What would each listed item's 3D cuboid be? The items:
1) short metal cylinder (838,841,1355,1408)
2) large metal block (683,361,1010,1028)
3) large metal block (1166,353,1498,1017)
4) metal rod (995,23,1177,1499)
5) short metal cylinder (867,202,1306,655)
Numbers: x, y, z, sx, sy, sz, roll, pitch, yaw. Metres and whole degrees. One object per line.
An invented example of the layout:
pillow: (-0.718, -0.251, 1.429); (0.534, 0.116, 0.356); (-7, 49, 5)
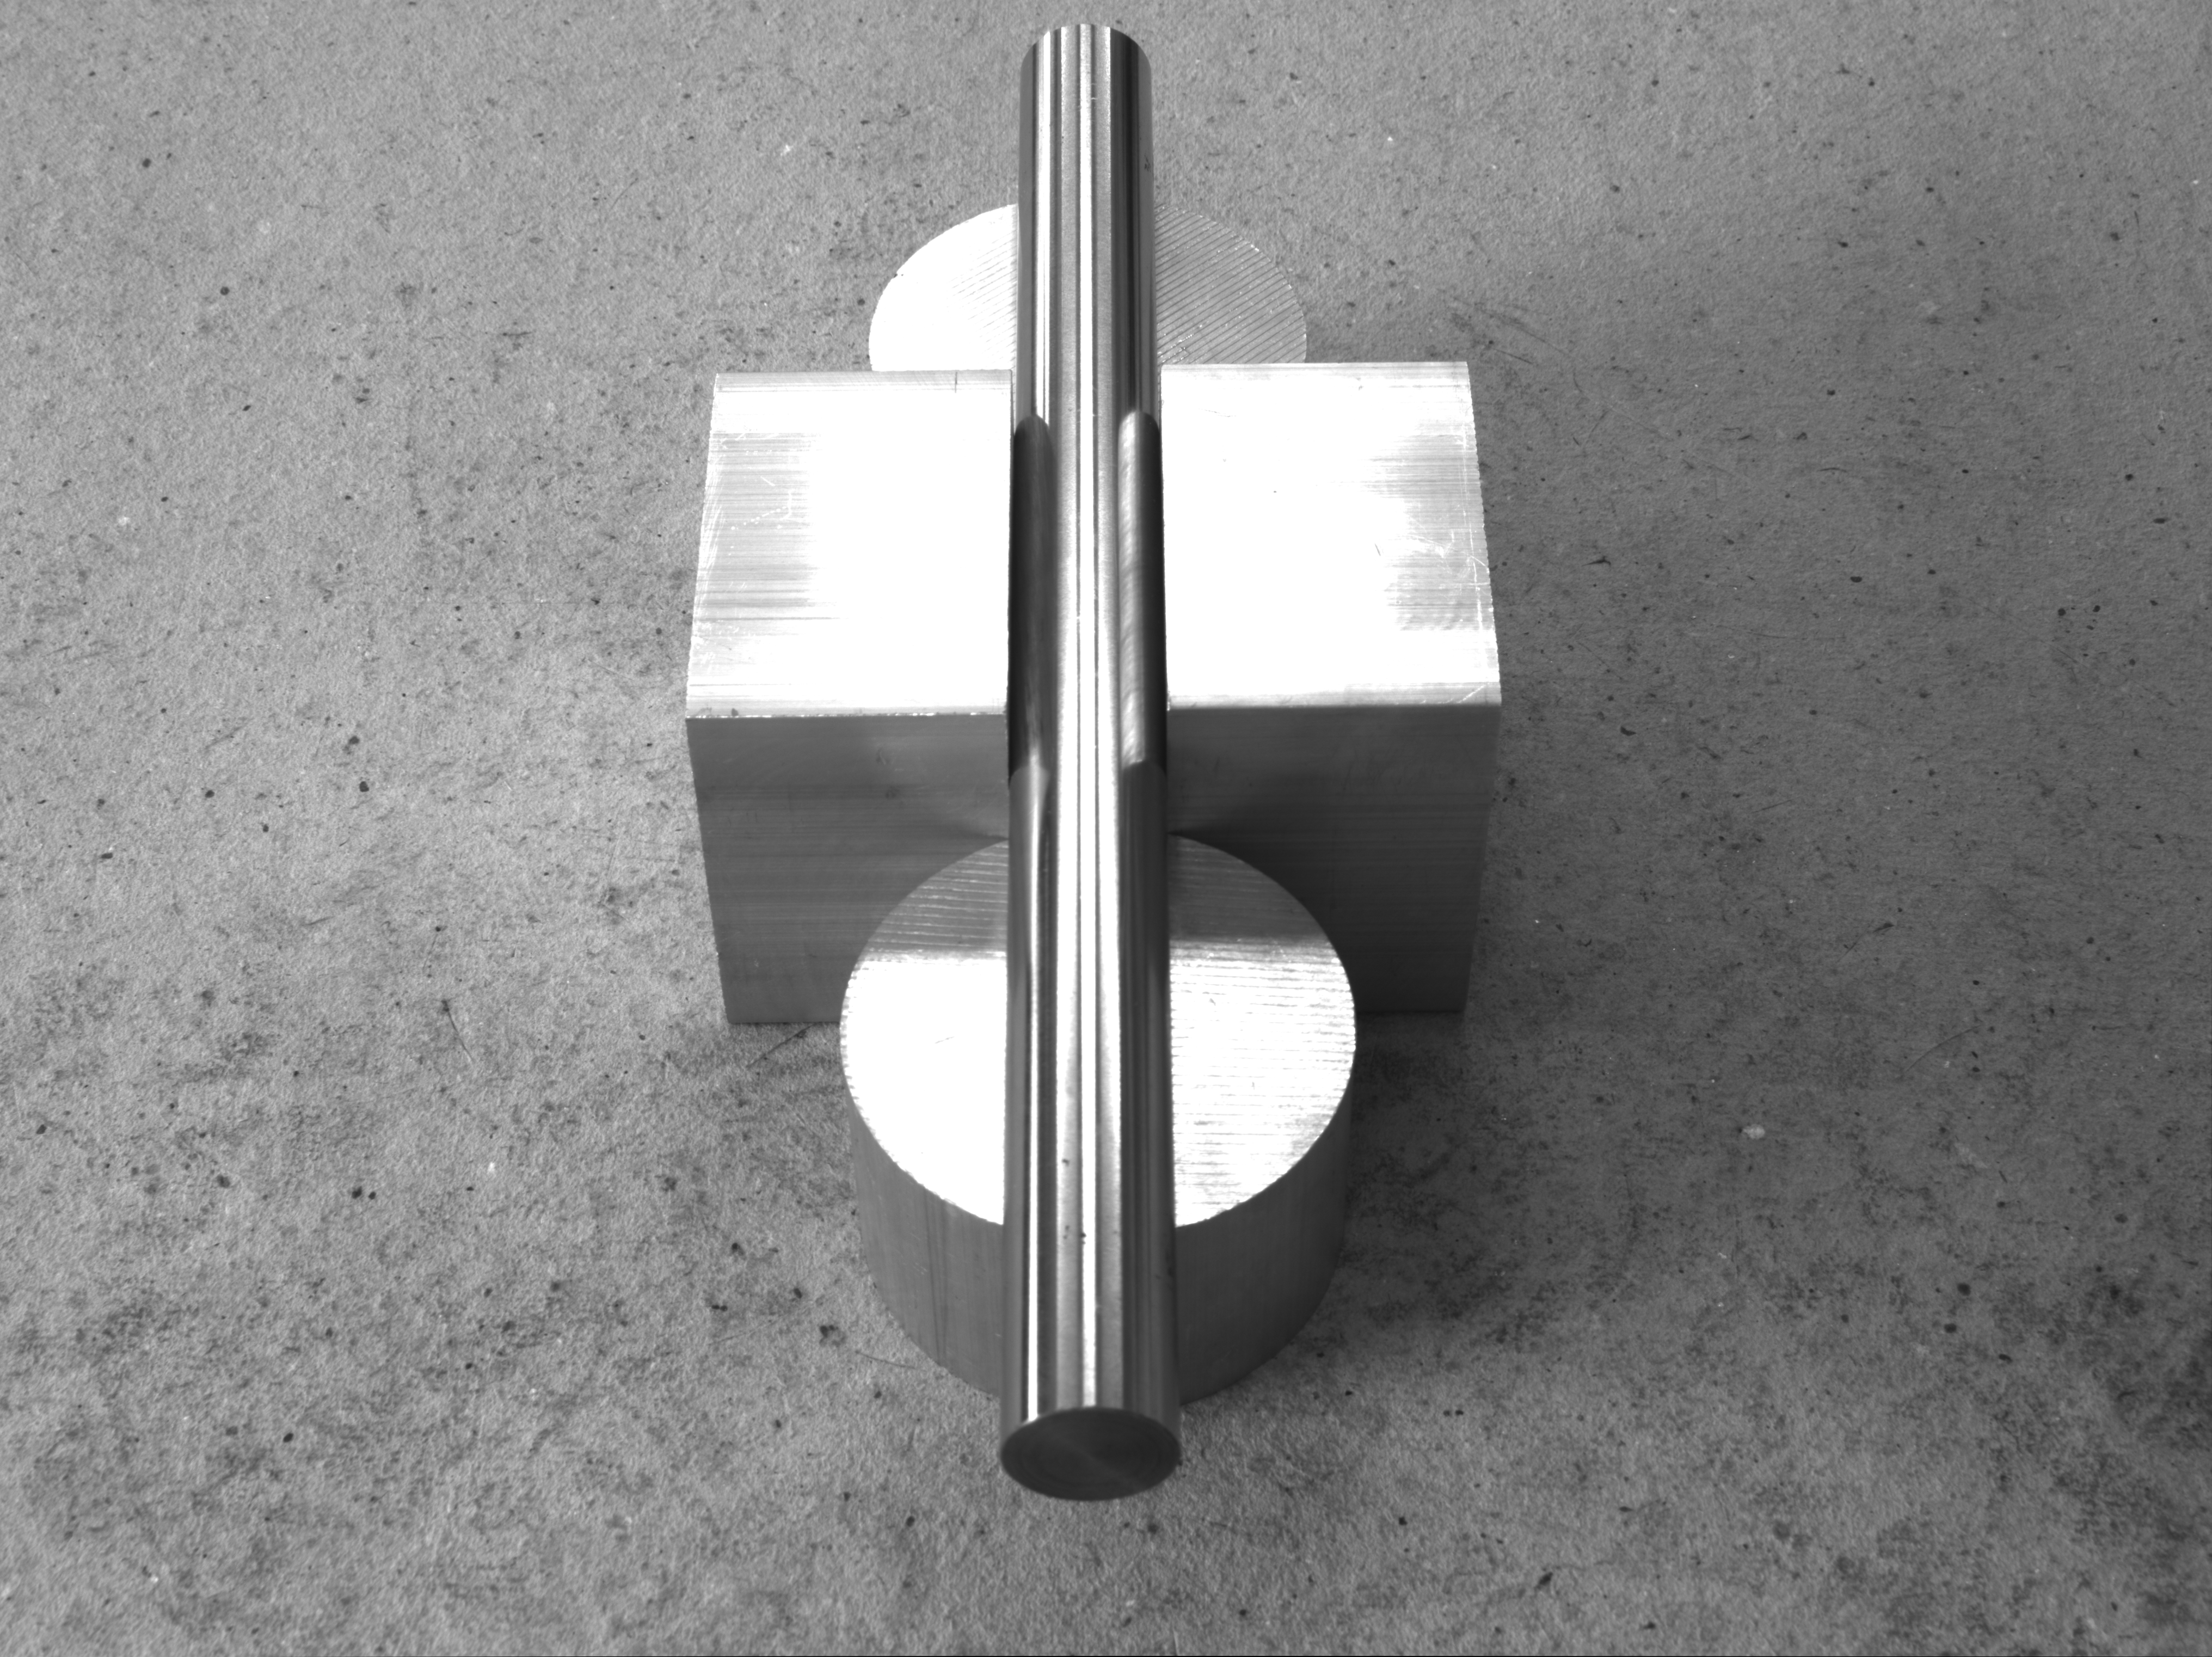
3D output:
short metal cylinder: (-0.001, 0.047, 0.588); (0.080, 0.050, 0.080); (0, 49, 0)
large metal block: (-0.041, -0.022, 0.626); (0.050, 0.080, 0.080); (-1, 50, 0)
large metal block: (0.036, -0.024, 0.627); (0.050, 0.080, 0.080); (-1, 50, 0)
metal rod: (-0.004, -0.029, 0.601); (0.025, 0.025, 0.300); (0, 50, 0)
short metal cylinder: (-0.003, -0.073, 0.688); (0.080, 0.050, 0.080); (0, 49, 0)
